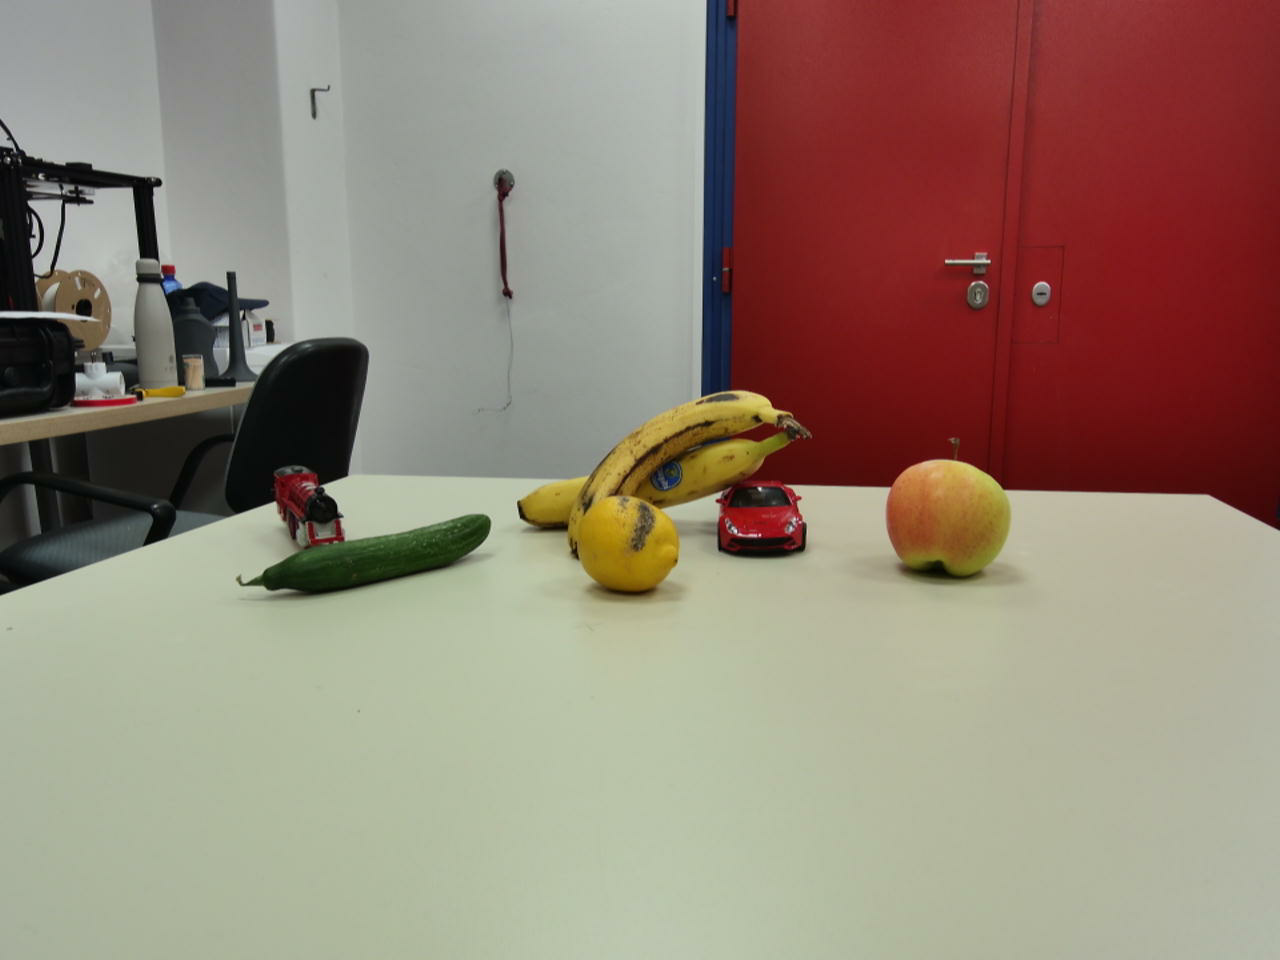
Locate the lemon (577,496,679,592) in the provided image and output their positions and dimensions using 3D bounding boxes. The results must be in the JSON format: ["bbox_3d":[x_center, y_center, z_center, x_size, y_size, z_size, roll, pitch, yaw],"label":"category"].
[{"bbox_3d":[-0.007,0.038,0.597,0.061,0.056,0.058,2,8,3],"label":"lemon"}]
